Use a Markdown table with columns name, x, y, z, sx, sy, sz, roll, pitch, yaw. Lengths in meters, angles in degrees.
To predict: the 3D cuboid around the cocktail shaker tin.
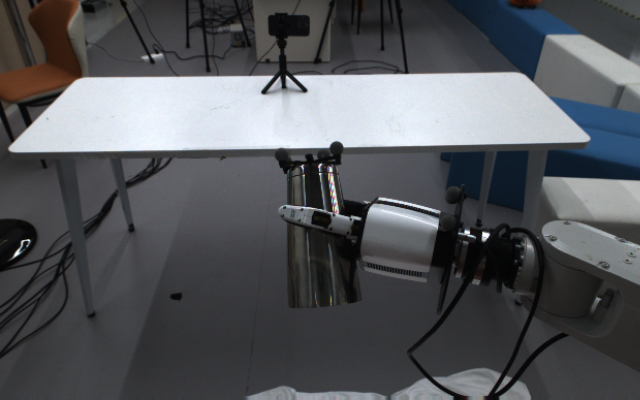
| name | x | y | z | sx | sy | sz | roll | pitch | yaw |
| --- | --- | --- | --- | --- | --- | --- | --- | --- | --- |
| cocktail shaker tin | -0.002 | 0.045 | 0.610 | 0.093 | 0.170 | 0.093 | -6 | -7 | -1 |
